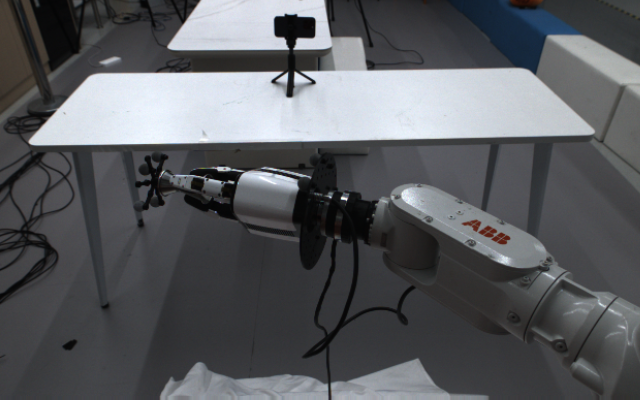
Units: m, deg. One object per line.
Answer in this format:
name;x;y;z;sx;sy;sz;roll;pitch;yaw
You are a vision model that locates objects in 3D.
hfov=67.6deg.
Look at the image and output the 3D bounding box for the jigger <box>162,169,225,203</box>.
jigger;-0.187;-0.022;0.696;0.071;0.043;0.043;8;35;13
